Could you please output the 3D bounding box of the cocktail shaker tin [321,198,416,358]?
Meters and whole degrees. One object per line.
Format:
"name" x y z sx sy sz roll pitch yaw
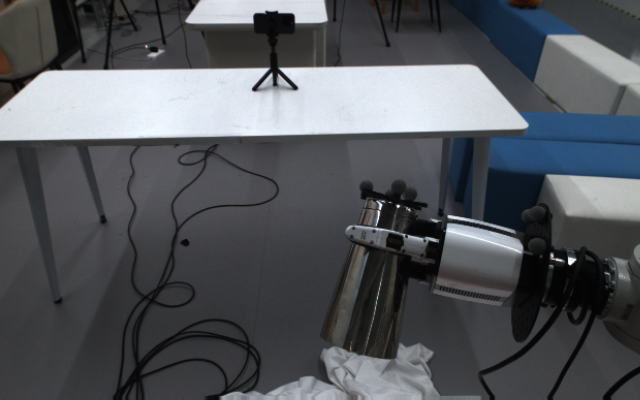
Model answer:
"cocktail shaker tin" 0.068 0.088 0.580 0.093 0.170 0.093 14 -5 1
